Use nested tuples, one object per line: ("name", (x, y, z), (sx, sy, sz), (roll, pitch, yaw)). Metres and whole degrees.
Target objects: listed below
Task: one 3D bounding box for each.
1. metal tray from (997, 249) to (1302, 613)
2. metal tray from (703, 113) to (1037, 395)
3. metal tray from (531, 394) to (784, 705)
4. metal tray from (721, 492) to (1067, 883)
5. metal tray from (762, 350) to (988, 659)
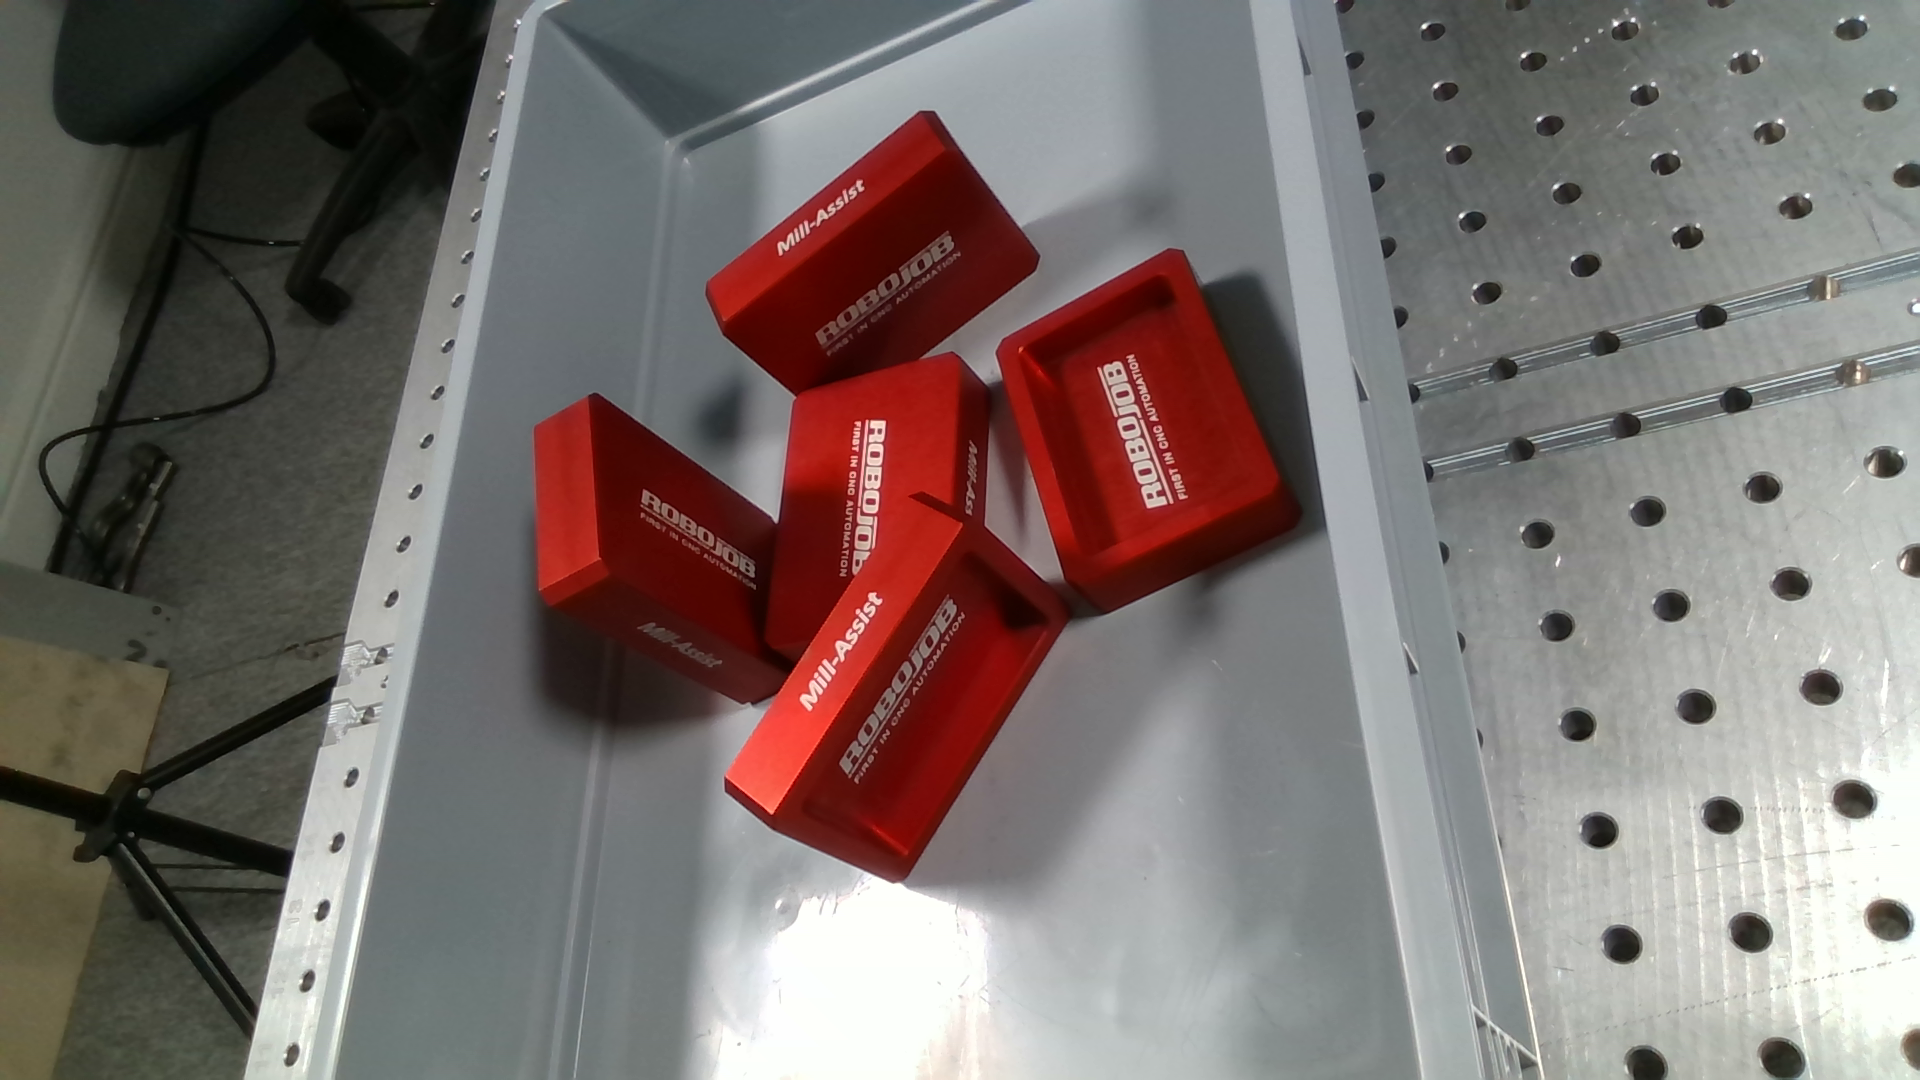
("metal tray", (0.073, -0.046, 0.560), (0.090, 0.030, 0.130), (-26, 54, 18))
("metal tray", (-0.040, -0.121, 0.630), (0.130, 0.090, 0.030), (-36, 53, 11))
("metal tray", (-0.124, 0.007, 0.587), (0.030, 0.130, 0.090), (-26, 55, 18))
("metal tray", (-0.021, 0.058, 0.523), (0.030, 0.090, 0.130), (28, 82, 39))
("metal tray", (-0.036, -0.013, 0.608), (0.090, 0.030, 0.130), (-11, 60, 27))
